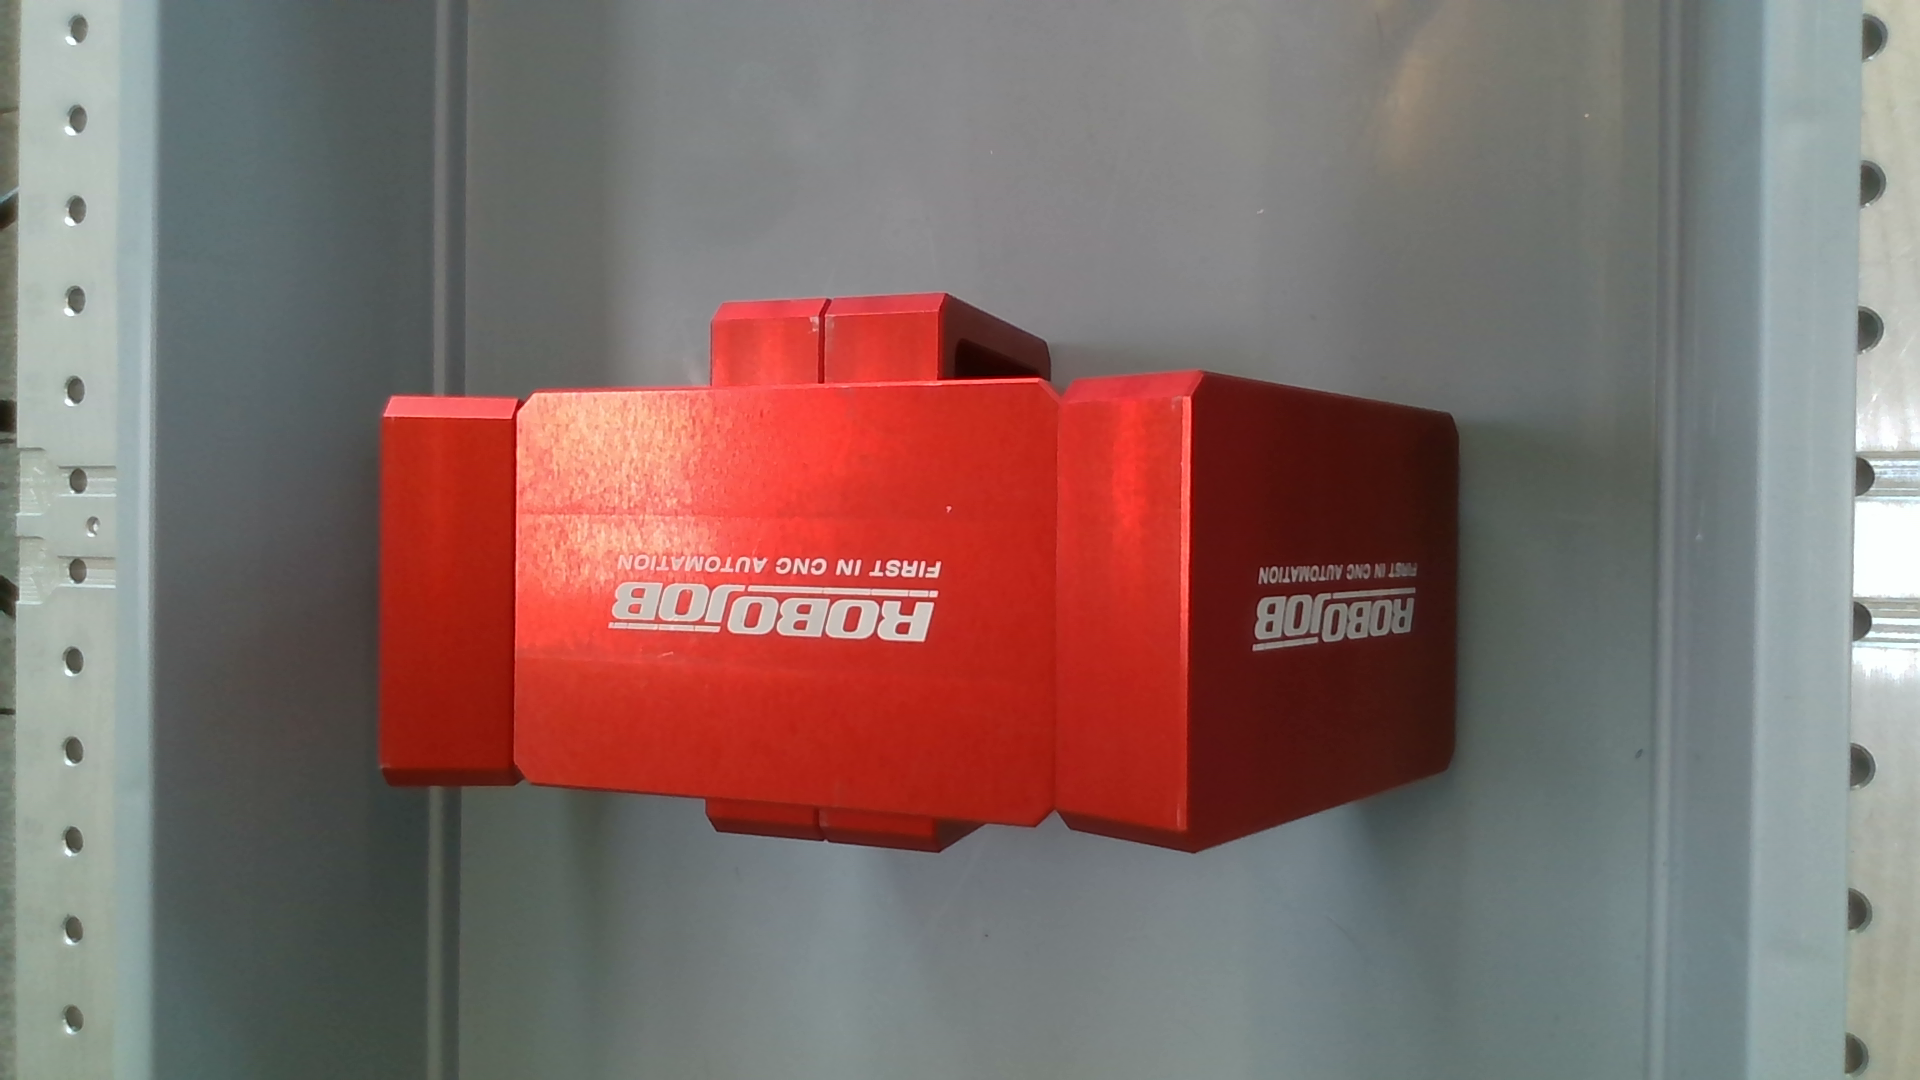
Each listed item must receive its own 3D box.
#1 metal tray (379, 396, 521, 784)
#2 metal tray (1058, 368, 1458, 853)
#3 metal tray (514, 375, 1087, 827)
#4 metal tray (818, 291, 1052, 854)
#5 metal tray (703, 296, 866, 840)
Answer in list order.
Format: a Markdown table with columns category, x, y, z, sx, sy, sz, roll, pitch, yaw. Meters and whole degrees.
| category | x | y | z | sx | sy | sz | roll | pitch | yaw |
| --- | --- | --- | --- | --- | --- | --- | --- | --- | --- |
| metal tray | -0.120 | 0.011 | 0.379 | 0.030 | 0.130 | 0.090 | 0 | 91 | -2 |
| metal tray | 0.073 | 0.013 | 0.310 | 0.030 | 0.130 | 0.090 | 1 | 91 | 40 |
| metal tray | -0.037 | 0.011 | 0.307 | 0.130 | 0.030 | 0.090 | 1 | 91 | 20 |
| metal tray | -0.004 | 0.007 | 0.360 | 0.030 | 0.090 | 0.130 | 1 | 91 | 20 |
| metal tray | -0.033 | 0.007 | 0.371 | 0.030 | 0.090 | 0.130 | 1 | 91 | 20 |
